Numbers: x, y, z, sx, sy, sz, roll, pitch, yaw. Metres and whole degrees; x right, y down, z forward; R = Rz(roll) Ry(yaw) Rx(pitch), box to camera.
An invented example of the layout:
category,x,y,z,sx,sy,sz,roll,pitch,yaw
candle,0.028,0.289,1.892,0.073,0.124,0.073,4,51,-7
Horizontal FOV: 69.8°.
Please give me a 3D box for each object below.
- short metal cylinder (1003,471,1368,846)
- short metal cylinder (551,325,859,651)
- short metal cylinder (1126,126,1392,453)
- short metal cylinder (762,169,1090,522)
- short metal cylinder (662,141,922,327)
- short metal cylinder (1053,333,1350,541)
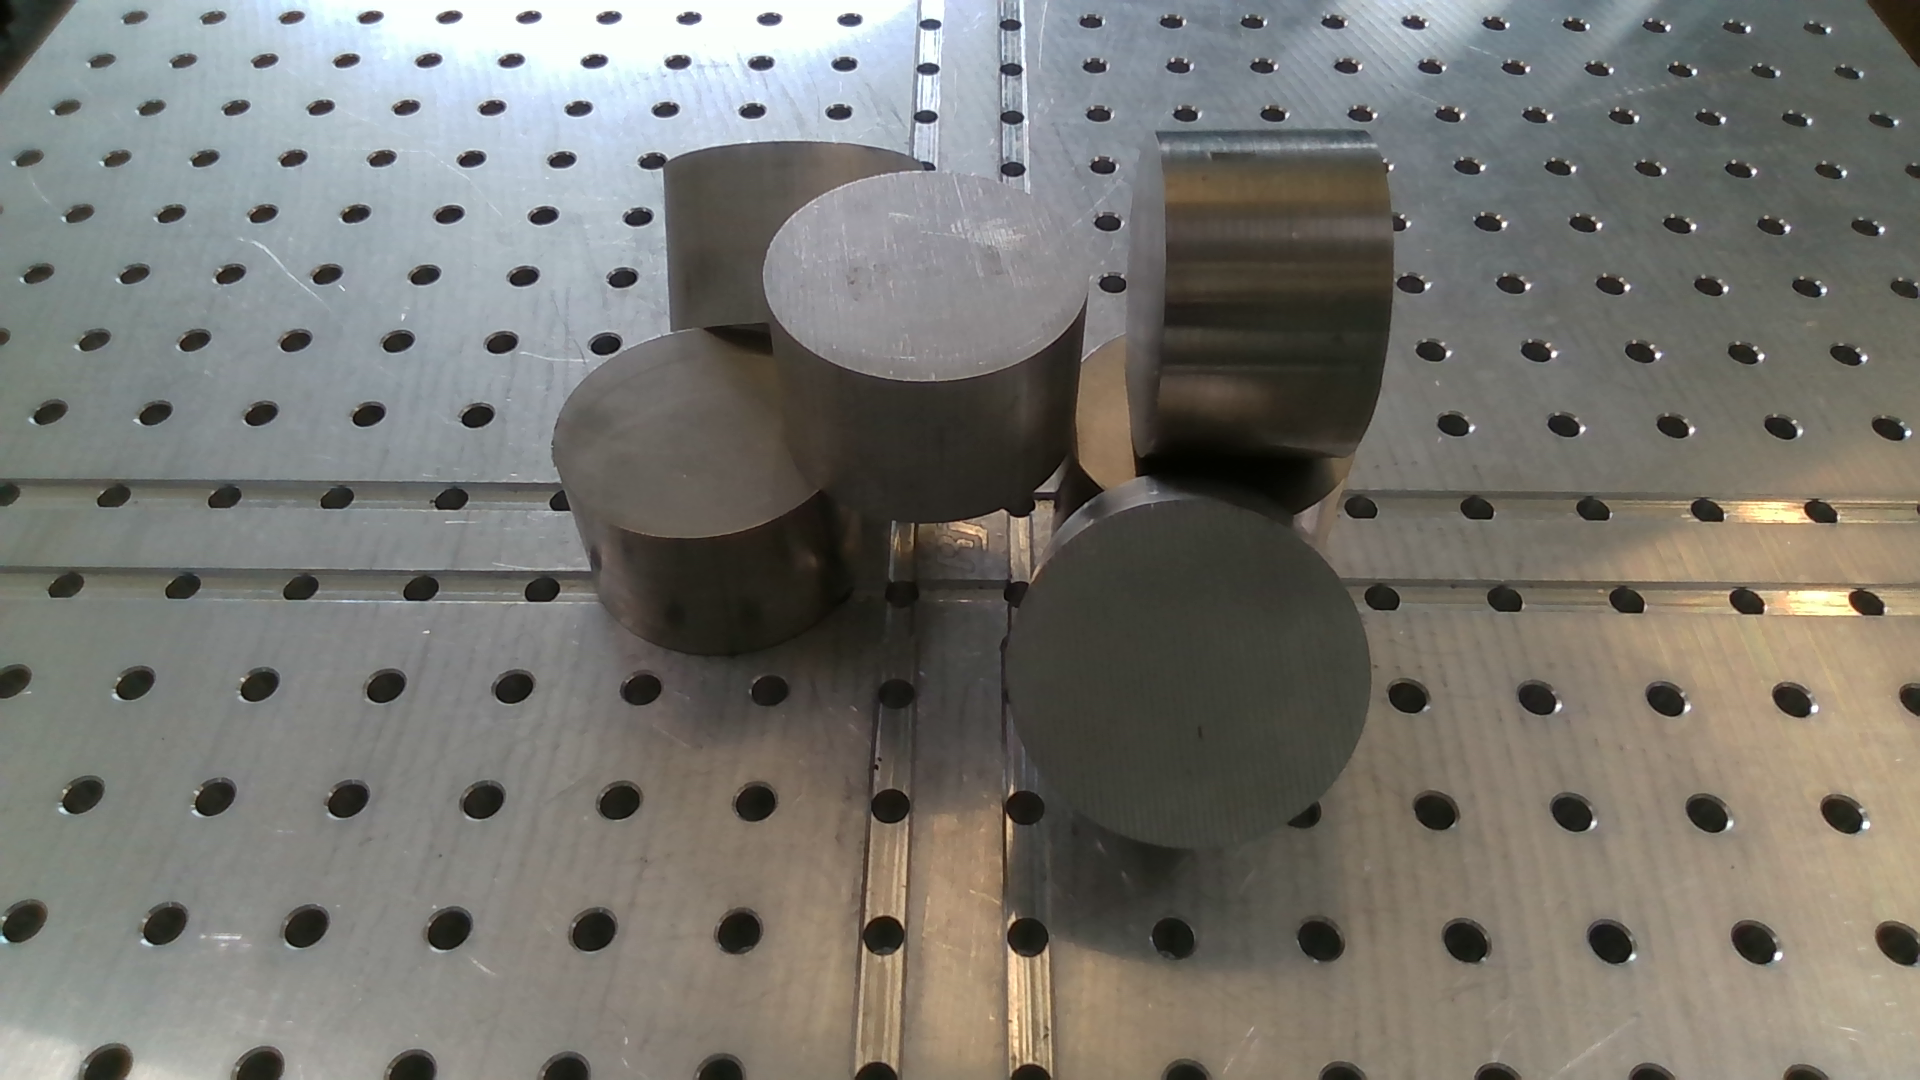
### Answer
category,x,y,z,sx,sy,sz,roll,pitch,yaw
short metal cylinder,0.053,0.026,0.330,0.080,0.080,0.050,8,10,7
short metal cylinder,-0.070,-0.016,0.392,0.080,0.050,0.080,0,50,1
short metal cylinder,0.071,-0.062,0.345,0.050,0.080,0.080,0,50,0
short metal cylinder,-0.008,-0.051,0.357,0.080,0.050,0.080,0,50,0
short metal cylinder,-0.051,-0.090,0.428,0.080,0.080,0.050,-2,94,-1
short metal cylinder,0.067,-0.018,0.395,0.080,0.050,0.080,0,50,0
